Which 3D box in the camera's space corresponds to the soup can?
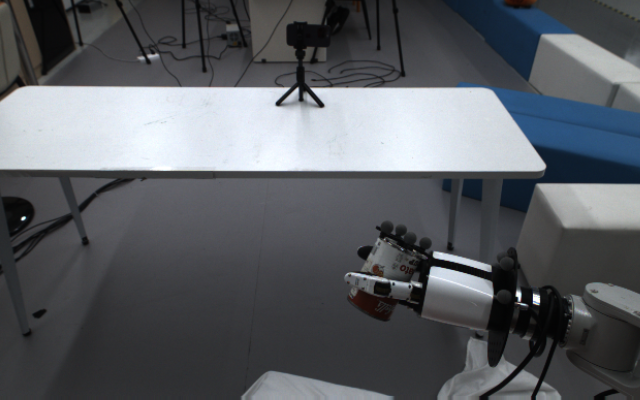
[{"bbox_3d":[0.090,0.107,0.671,0.067,0.101,0.067,26,6,-3],"label":"soup can"}]
